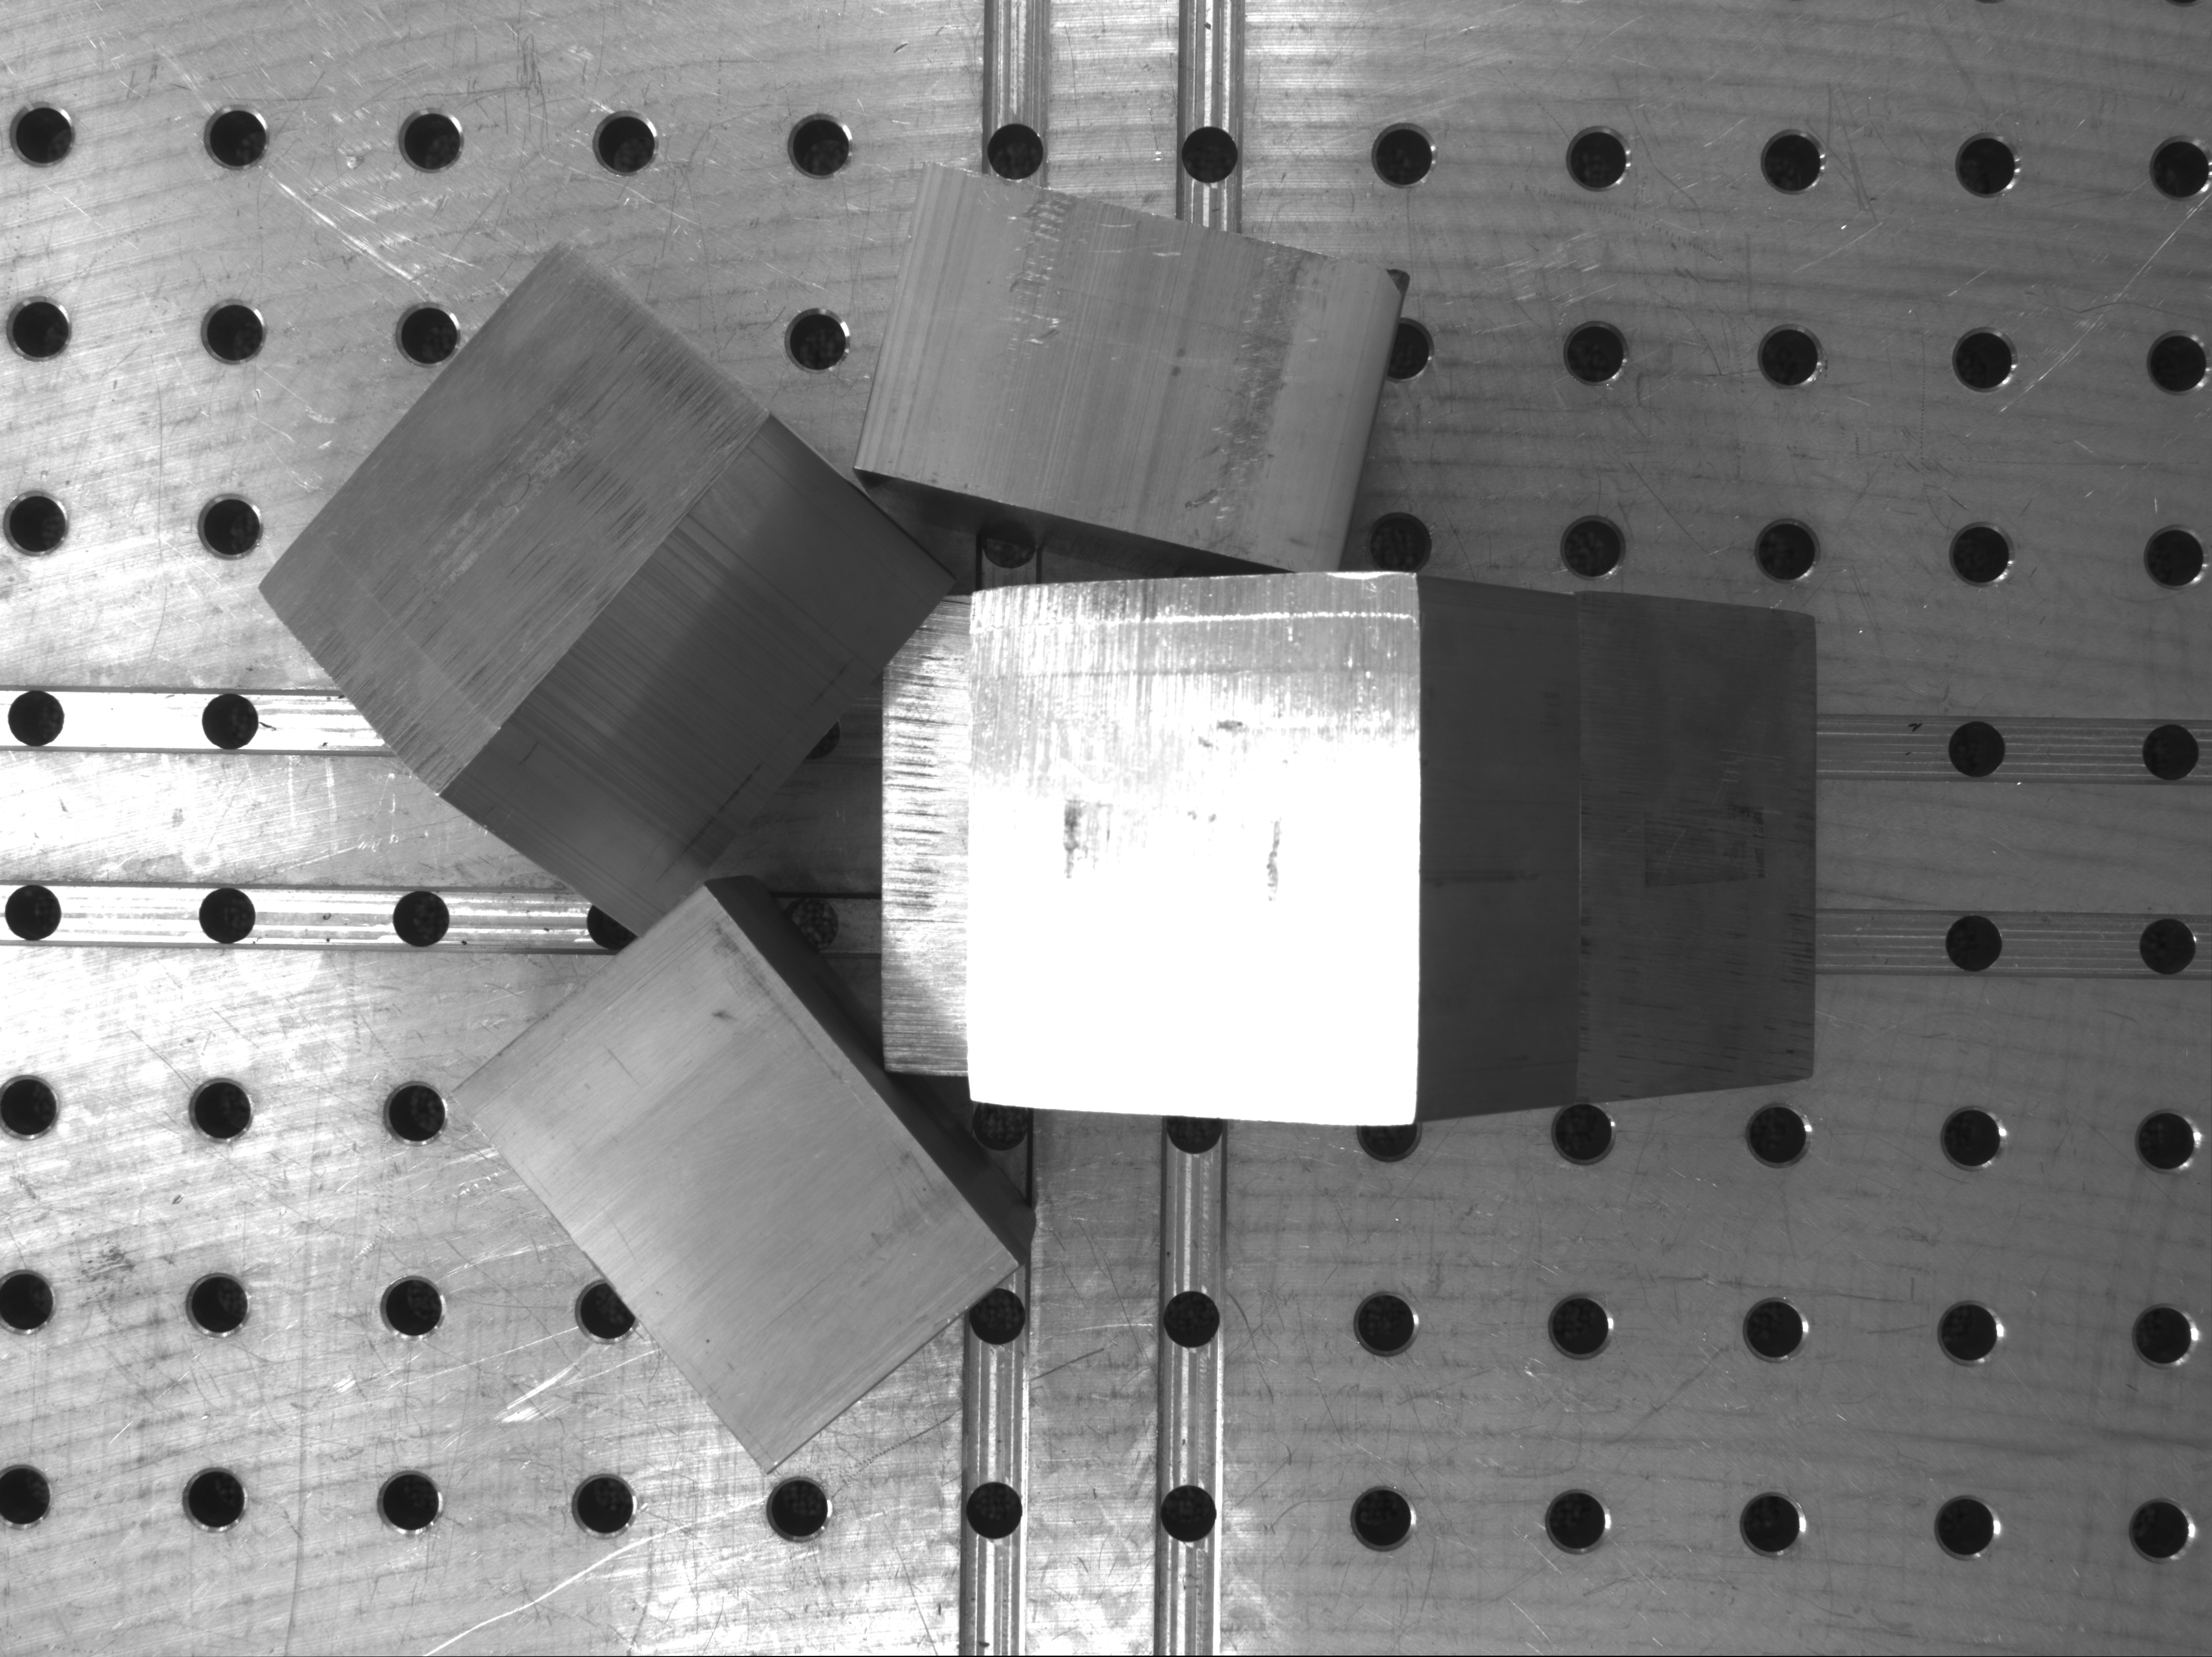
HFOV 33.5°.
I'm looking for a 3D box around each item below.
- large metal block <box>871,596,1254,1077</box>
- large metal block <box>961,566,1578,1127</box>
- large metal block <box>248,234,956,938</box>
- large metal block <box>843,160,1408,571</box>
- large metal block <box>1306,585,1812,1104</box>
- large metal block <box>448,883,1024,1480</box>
[{"bbox_3d":[0.002,0.002,0.636,0.080,0.050,0.080,1,90,0],"label":"large metal block"},{"bbox_3d":[0.025,0.003,0.566,0.080,0.050,0.080,0,89,34],"label":"large metal block"},{"bbox_3d":[-0.085,-0.041,0.614,0.080,0.080,0.050,-49,134,0],"label":"large metal block"},{"bbox_3d":[0.003,-0.072,0.621,0.080,0.080,0.050,13,90,0],"label":"large metal block"},{"bbox_3d":[0.077,0.003,0.613,0.050,0.080,0.080,-1,89,38],"label":"large metal block"},{"bbox_3d":[-0.059,0.056,0.619,0.050,0.080,0.080,-40,90,-1],"label":"large metal block"}]
